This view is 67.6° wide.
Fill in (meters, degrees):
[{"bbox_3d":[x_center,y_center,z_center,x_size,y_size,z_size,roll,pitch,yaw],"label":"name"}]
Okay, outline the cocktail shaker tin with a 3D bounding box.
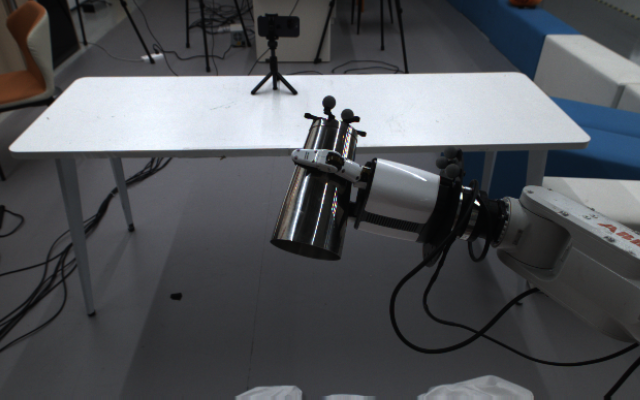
[{"bbox_3d":[0.000,-0.015,0.631,0.093,0.093,0.170,11,74,12],"label":"cocktail shaker tin"}]
